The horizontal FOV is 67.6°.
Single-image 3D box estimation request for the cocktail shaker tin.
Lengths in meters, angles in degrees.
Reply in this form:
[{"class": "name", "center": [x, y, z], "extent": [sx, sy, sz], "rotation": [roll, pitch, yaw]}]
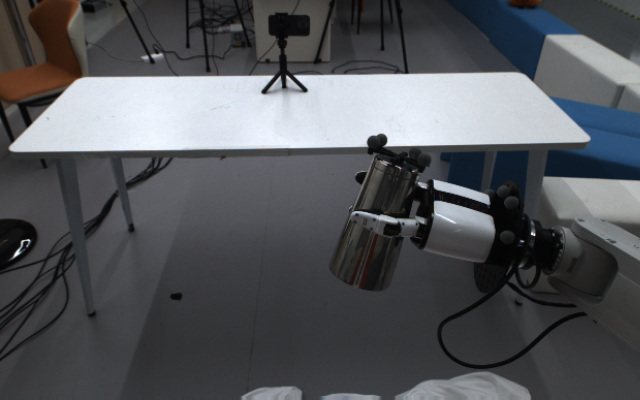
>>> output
[{"class": "cocktail shaker tin", "center": [0.080, 0.027, 0.668], "extent": [0.093, 0.170, 0.093], "rotation": [15, 17, -5]}]
